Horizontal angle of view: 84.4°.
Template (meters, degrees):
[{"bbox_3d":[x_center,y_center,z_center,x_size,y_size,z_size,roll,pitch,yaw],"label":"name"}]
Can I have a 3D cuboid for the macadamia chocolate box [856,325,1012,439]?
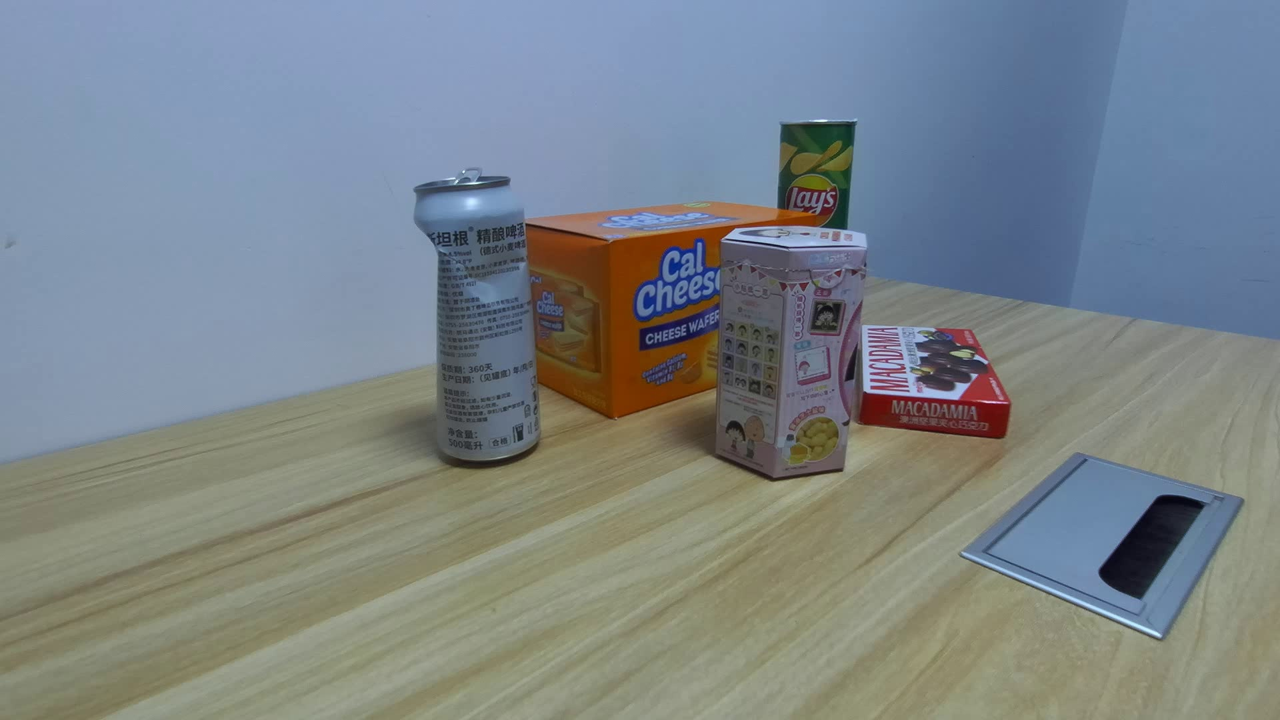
[{"bbox_3d":[0.220,0.010,0.550,0.095,0.027,0.178,4,19,17],"label":"macadamia chocolate box"}]

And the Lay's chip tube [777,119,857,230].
[{"bbox_3d":[0.165,-0.124,0.677,0.071,0.202,0.071,-1,17,1],"label":"Lay's chip tube"}]

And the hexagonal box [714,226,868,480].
[{"bbox_3d":[0.091,-0.007,0.425,0.083,0.136,0.091,4,19,15],"label":"hexagonal box"}]

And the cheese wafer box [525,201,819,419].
[{"bbox_3d":[0.021,-0.055,0.593,0.223,0.129,0.147,-15,23,-37],"label":"cheese wafer box"}]

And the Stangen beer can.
[{"bbox_3d":[-0.101,-0.024,0.431,0.069,0.173,0.070,10,20,33],"label":"Stangen beer can"}]
